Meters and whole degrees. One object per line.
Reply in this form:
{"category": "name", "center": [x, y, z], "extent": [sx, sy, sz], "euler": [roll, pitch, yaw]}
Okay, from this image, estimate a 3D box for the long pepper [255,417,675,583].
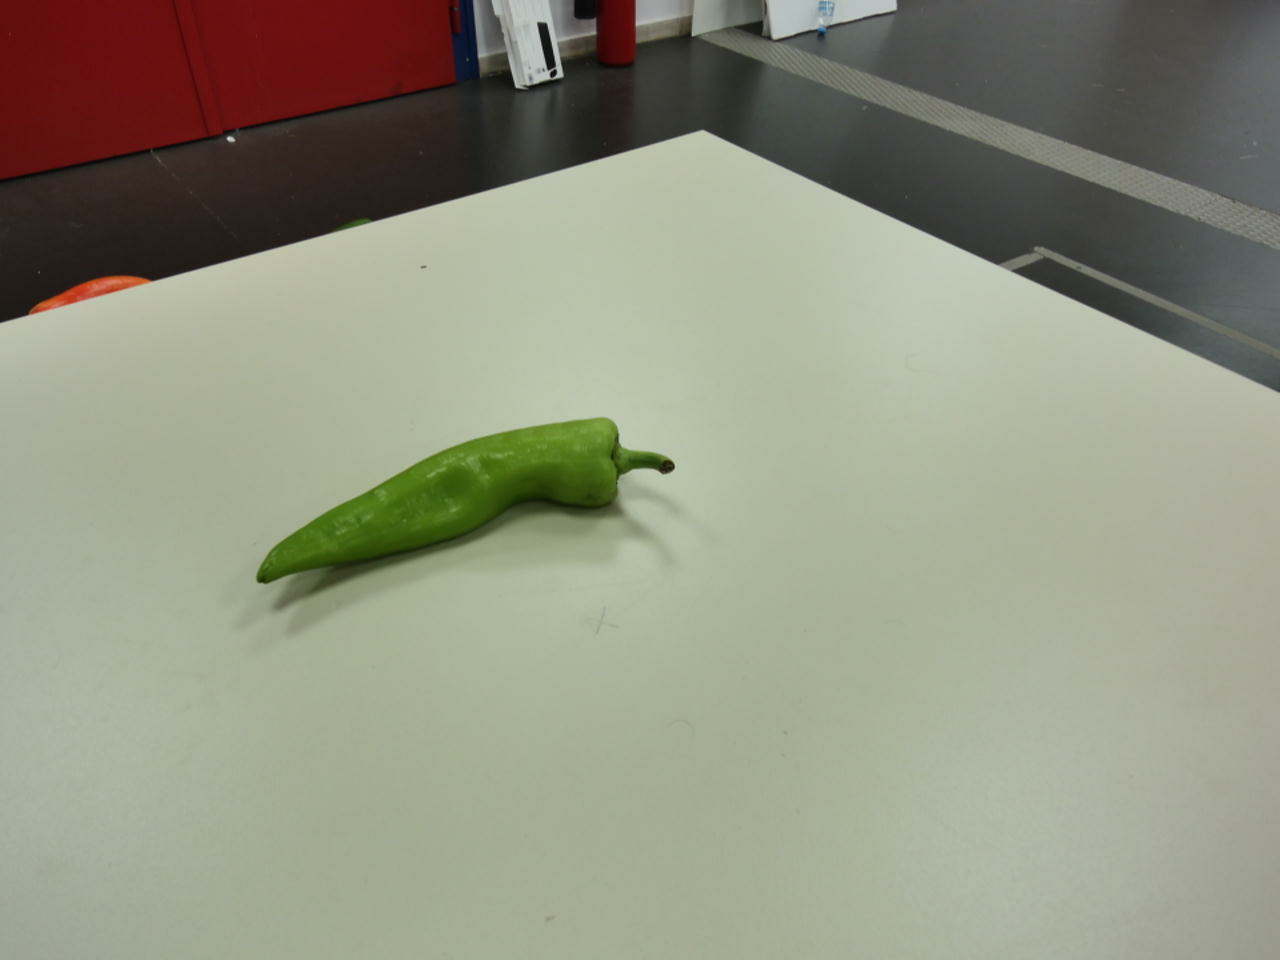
{"category": "long pepper", "center": [-0.088, 0.006, 0.501], "extent": [0.204, 0.045, 0.065], "euler": [-13, 40, -17]}
